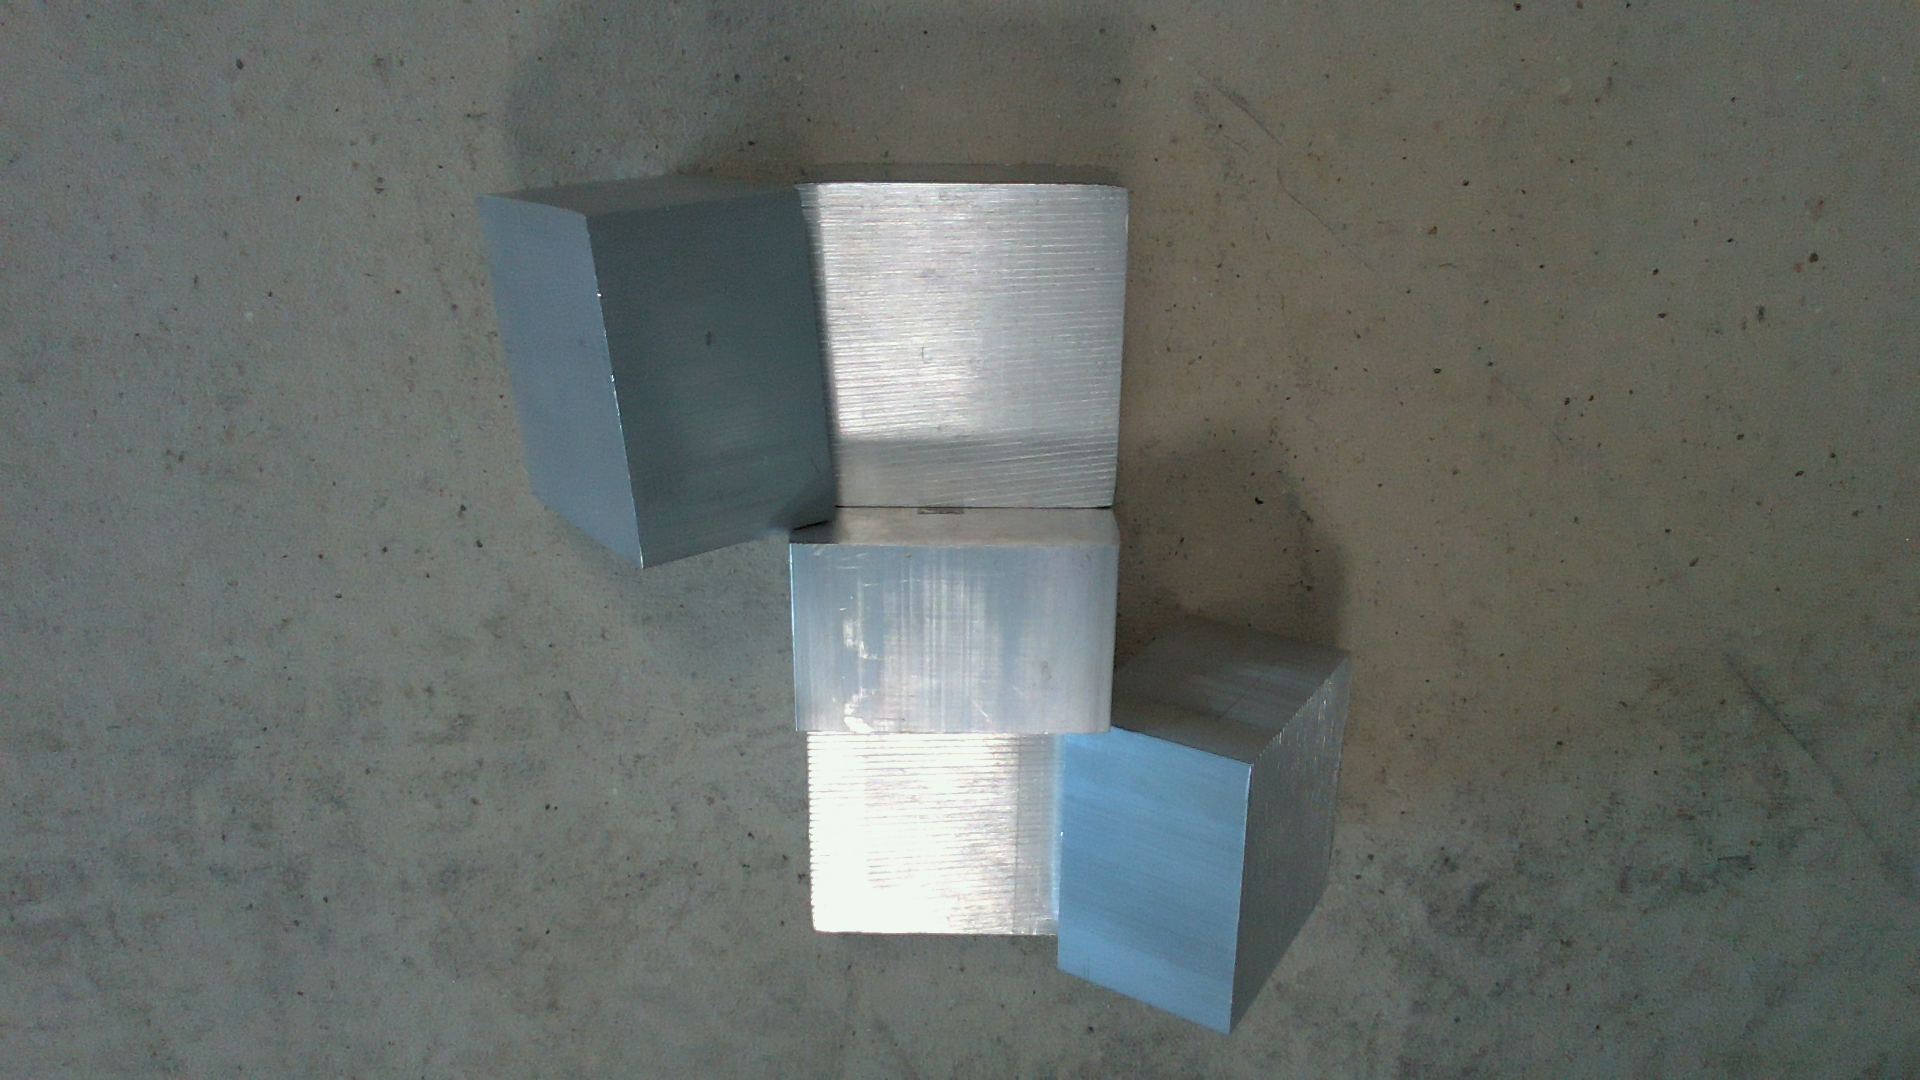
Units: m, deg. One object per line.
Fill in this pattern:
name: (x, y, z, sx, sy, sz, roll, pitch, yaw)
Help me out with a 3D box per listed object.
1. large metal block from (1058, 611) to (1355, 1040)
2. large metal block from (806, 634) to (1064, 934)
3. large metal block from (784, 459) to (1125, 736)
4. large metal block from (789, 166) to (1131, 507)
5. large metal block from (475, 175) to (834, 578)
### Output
large metal block: (0.070, 0.075, 0.385, 0.050, 0.080, 0.080, 12, 113, 30)
large metal block: (-0.002, 0.067, 0.406, 0.080, 0.050, 0.080, 1, 111, 0)
large metal block: (-0.001, 0.011, 0.369, 0.080, 0.080, 0.050, 0, 110, 0)
large metal block: (0.000, -0.055, 0.359, 0.080, 0.050, 0.080, 1, 110, 0)
large metal block: (-0.076, -0.045, 0.340, 0.050, 0.080, 0.080, -16, 113, -31)
